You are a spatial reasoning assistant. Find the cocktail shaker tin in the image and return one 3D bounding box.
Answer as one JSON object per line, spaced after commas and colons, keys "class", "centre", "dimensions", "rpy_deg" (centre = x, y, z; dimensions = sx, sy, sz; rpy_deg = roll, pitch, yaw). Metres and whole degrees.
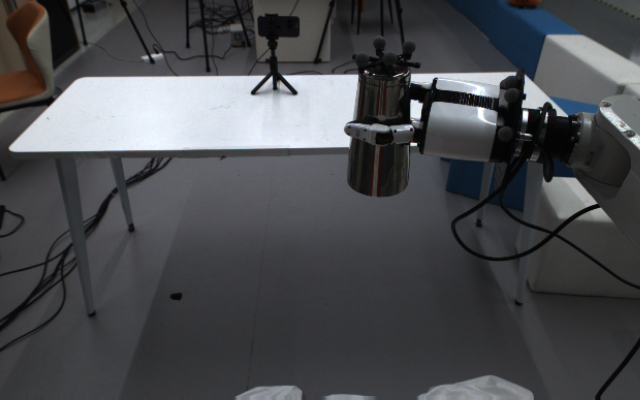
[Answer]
{"class": "cocktail shaker tin", "centre": [0.086, -0.101, 0.666], "dimensions": [0.093, 0.170, 0.093], "rpy_deg": [0, 36, 0]}
